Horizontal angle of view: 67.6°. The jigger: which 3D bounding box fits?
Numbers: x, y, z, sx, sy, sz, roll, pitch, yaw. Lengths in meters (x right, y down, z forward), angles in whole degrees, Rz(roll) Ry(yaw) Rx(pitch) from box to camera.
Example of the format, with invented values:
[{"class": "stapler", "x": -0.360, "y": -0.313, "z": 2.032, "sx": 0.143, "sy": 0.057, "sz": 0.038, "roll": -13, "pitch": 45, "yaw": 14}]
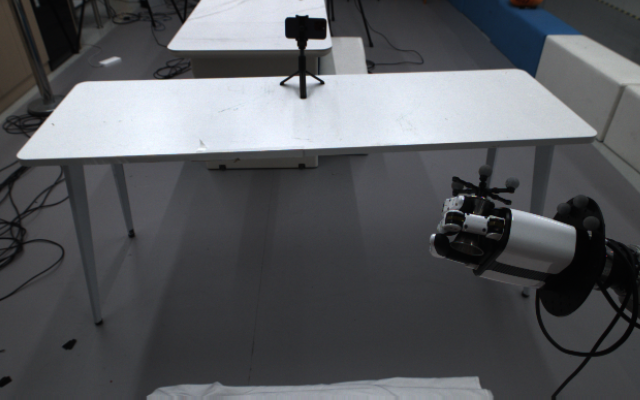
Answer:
[{"class": "jigger", "x": 0.202, "y": 0.031, "z": 0.634, "sx": 0.043, "sy": 0.043, "sz": 0.071, "roll": 15, "pitch": 70, "yaw": 18}]
